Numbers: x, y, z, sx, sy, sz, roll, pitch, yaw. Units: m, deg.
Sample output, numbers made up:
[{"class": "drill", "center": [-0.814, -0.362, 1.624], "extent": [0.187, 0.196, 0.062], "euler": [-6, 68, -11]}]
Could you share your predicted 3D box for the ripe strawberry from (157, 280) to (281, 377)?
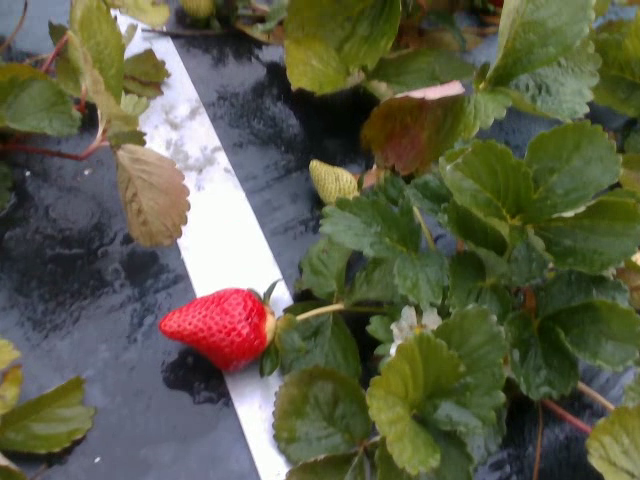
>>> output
[{"class": "ripe strawberry", "center": [-0.047, 0.037, 0.274], "extent": [0.051, 0.042, 0.037], "euler": [3, -8, -25]}]
